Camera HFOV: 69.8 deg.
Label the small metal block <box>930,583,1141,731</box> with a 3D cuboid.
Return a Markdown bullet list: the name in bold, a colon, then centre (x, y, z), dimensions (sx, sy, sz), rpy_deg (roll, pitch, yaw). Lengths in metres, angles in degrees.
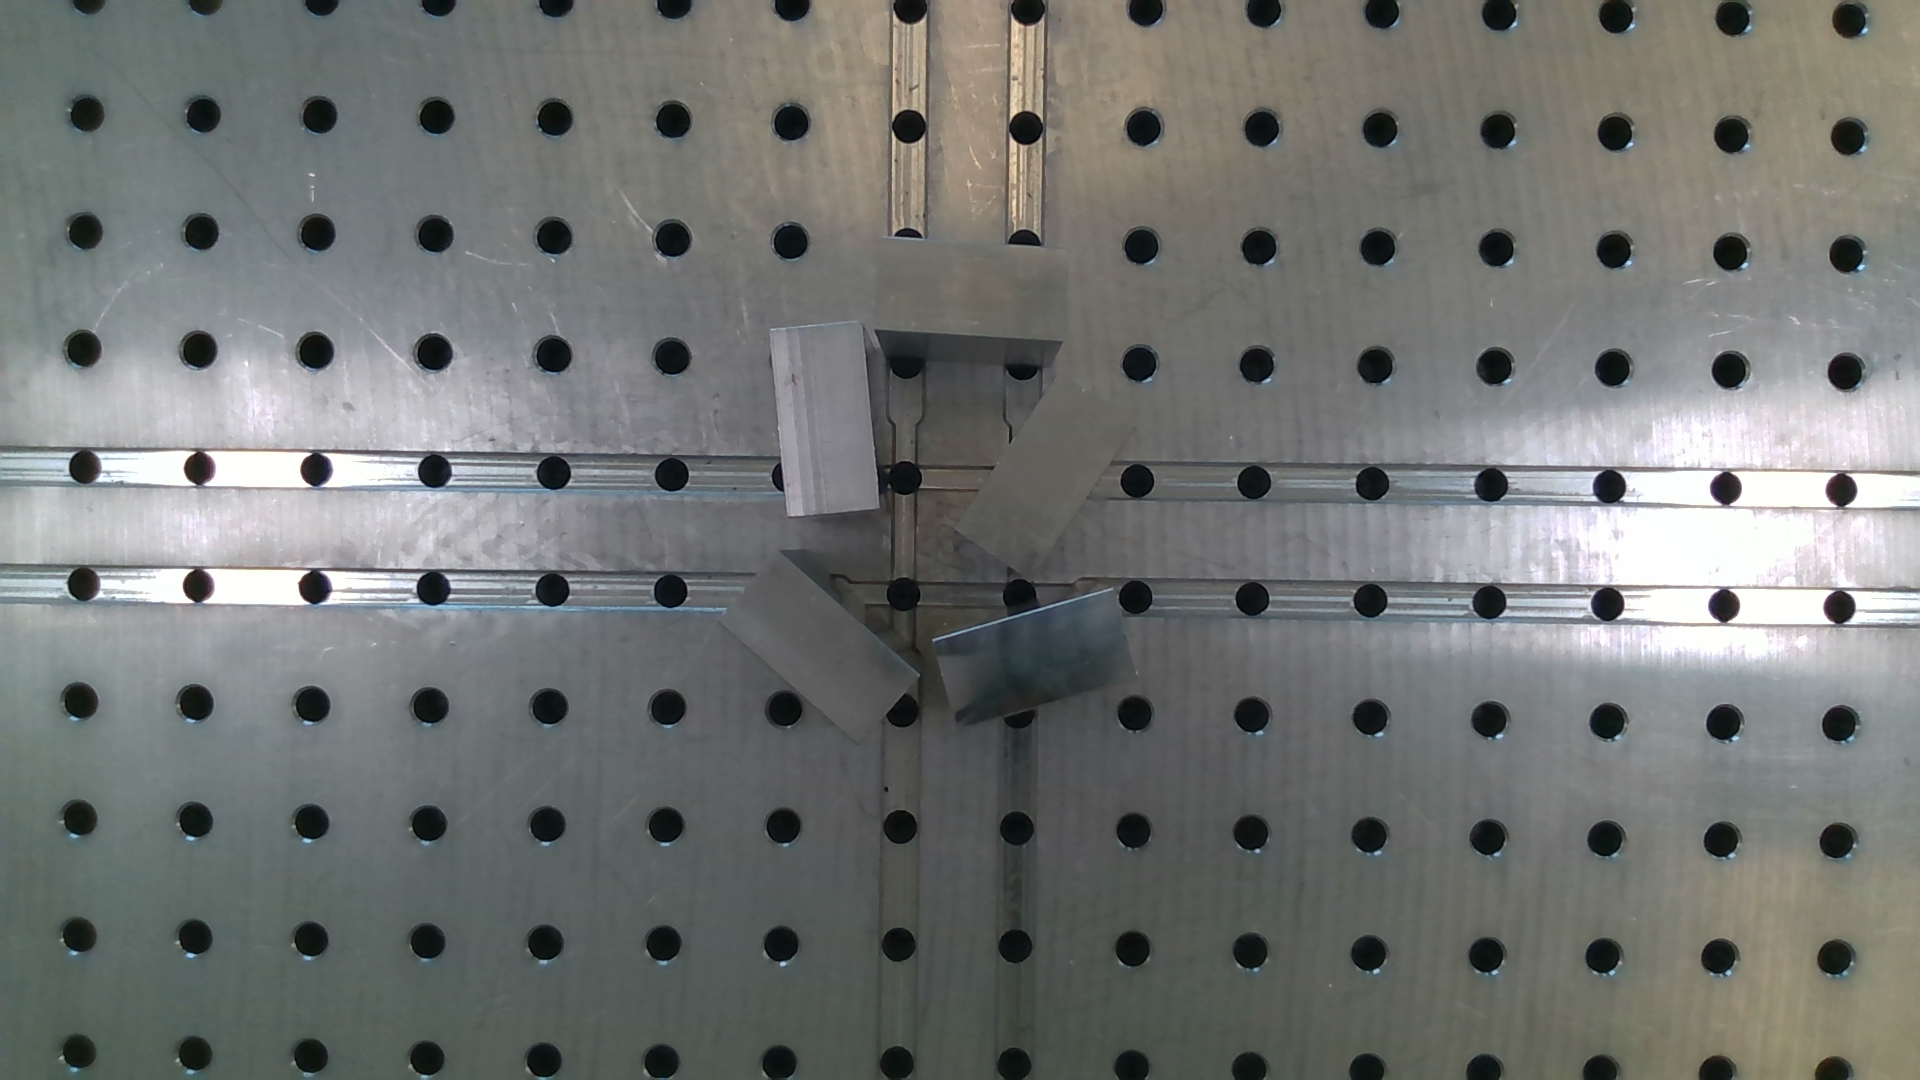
- **small metal block**: centre (0.019, 0.031, 0.385), dimensions (0.050, 0.050, 0.025), rpy_deg (-16, 90, -1)

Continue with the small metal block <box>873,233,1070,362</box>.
- **small metal block**: centre (0.003, -0.066, 0.385), dimensions (0.050, 0.050, 0.025), rpy_deg (3, 90, 1)

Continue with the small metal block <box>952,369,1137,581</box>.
- **small metal block**: centre (0.022, -0.017, 0.385), dimensions (0.025, 0.050, 0.050), rpy_deg (34, 90, 1)

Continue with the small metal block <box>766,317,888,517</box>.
- **small metal block**: centre (-0.036, -0.032, 0.385), dimensions (0.025, 0.050, 0.050), rpy_deg (-5, 90, 0)

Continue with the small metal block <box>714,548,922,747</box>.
- **small metal block**: centre (-0.038, 0.028, 0.385), dimensions (0.050, 0.050, 0.025), rpy_deg (42, 89, 0)
